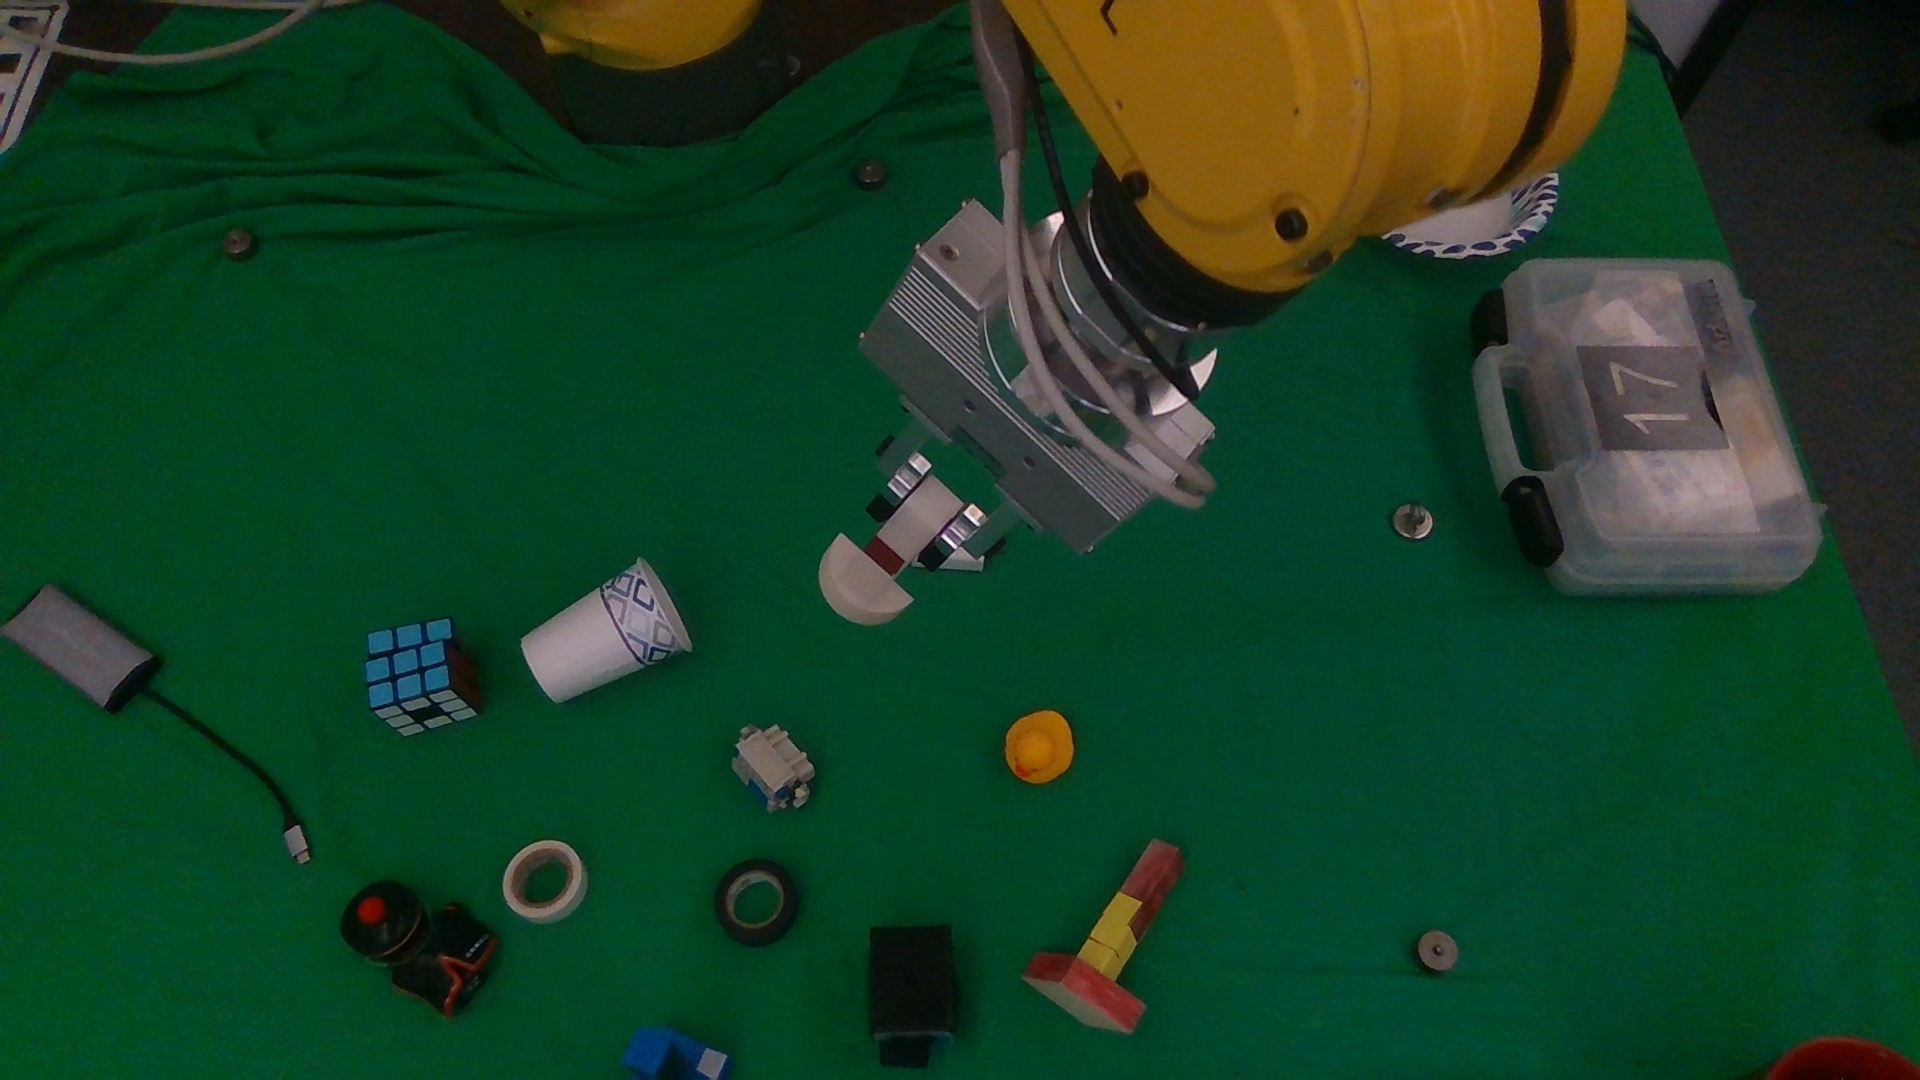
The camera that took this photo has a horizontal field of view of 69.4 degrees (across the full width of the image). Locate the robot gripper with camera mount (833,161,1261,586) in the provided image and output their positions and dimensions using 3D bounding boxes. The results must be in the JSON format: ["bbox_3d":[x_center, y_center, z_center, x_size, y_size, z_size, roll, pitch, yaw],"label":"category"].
[{"bbox_3d":[0.042,-0.081,0.581,0.119,0.159,0.193,43,61,0],"label":"robot gripper with camera mount"}]

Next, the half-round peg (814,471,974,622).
[{"bbox_3d":[-0.029,0.003,0.648,0.054,0.122,0.031,35,57,-7],"label":"half-round peg"}]
